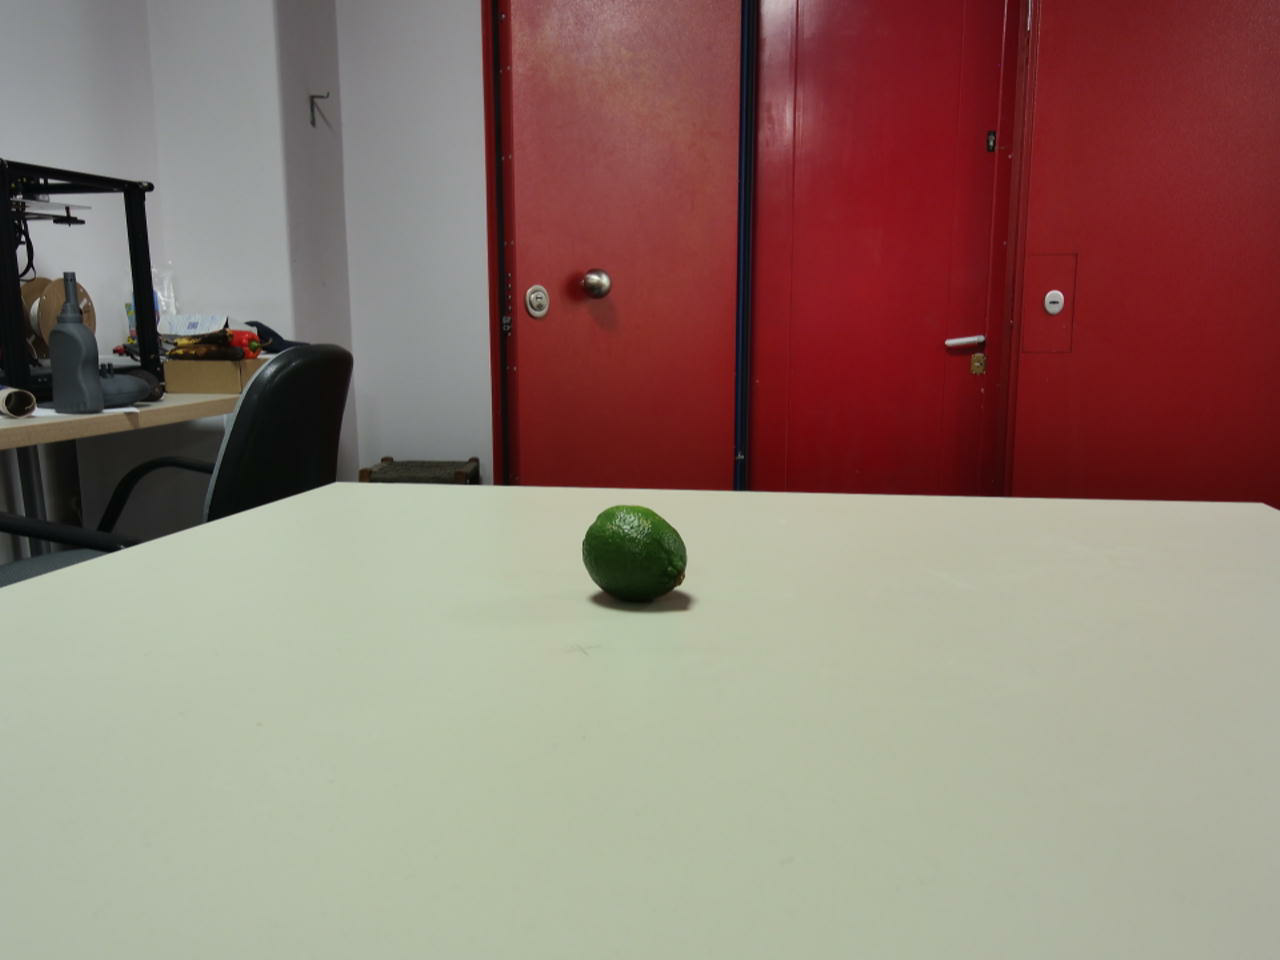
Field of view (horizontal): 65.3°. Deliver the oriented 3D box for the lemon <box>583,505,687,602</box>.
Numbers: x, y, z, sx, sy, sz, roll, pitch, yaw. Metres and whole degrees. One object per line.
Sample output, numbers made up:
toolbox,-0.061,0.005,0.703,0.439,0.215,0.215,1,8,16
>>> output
lemon,-0.002,0.039,0.543,0.057,0.051,0.054,0,7,8
